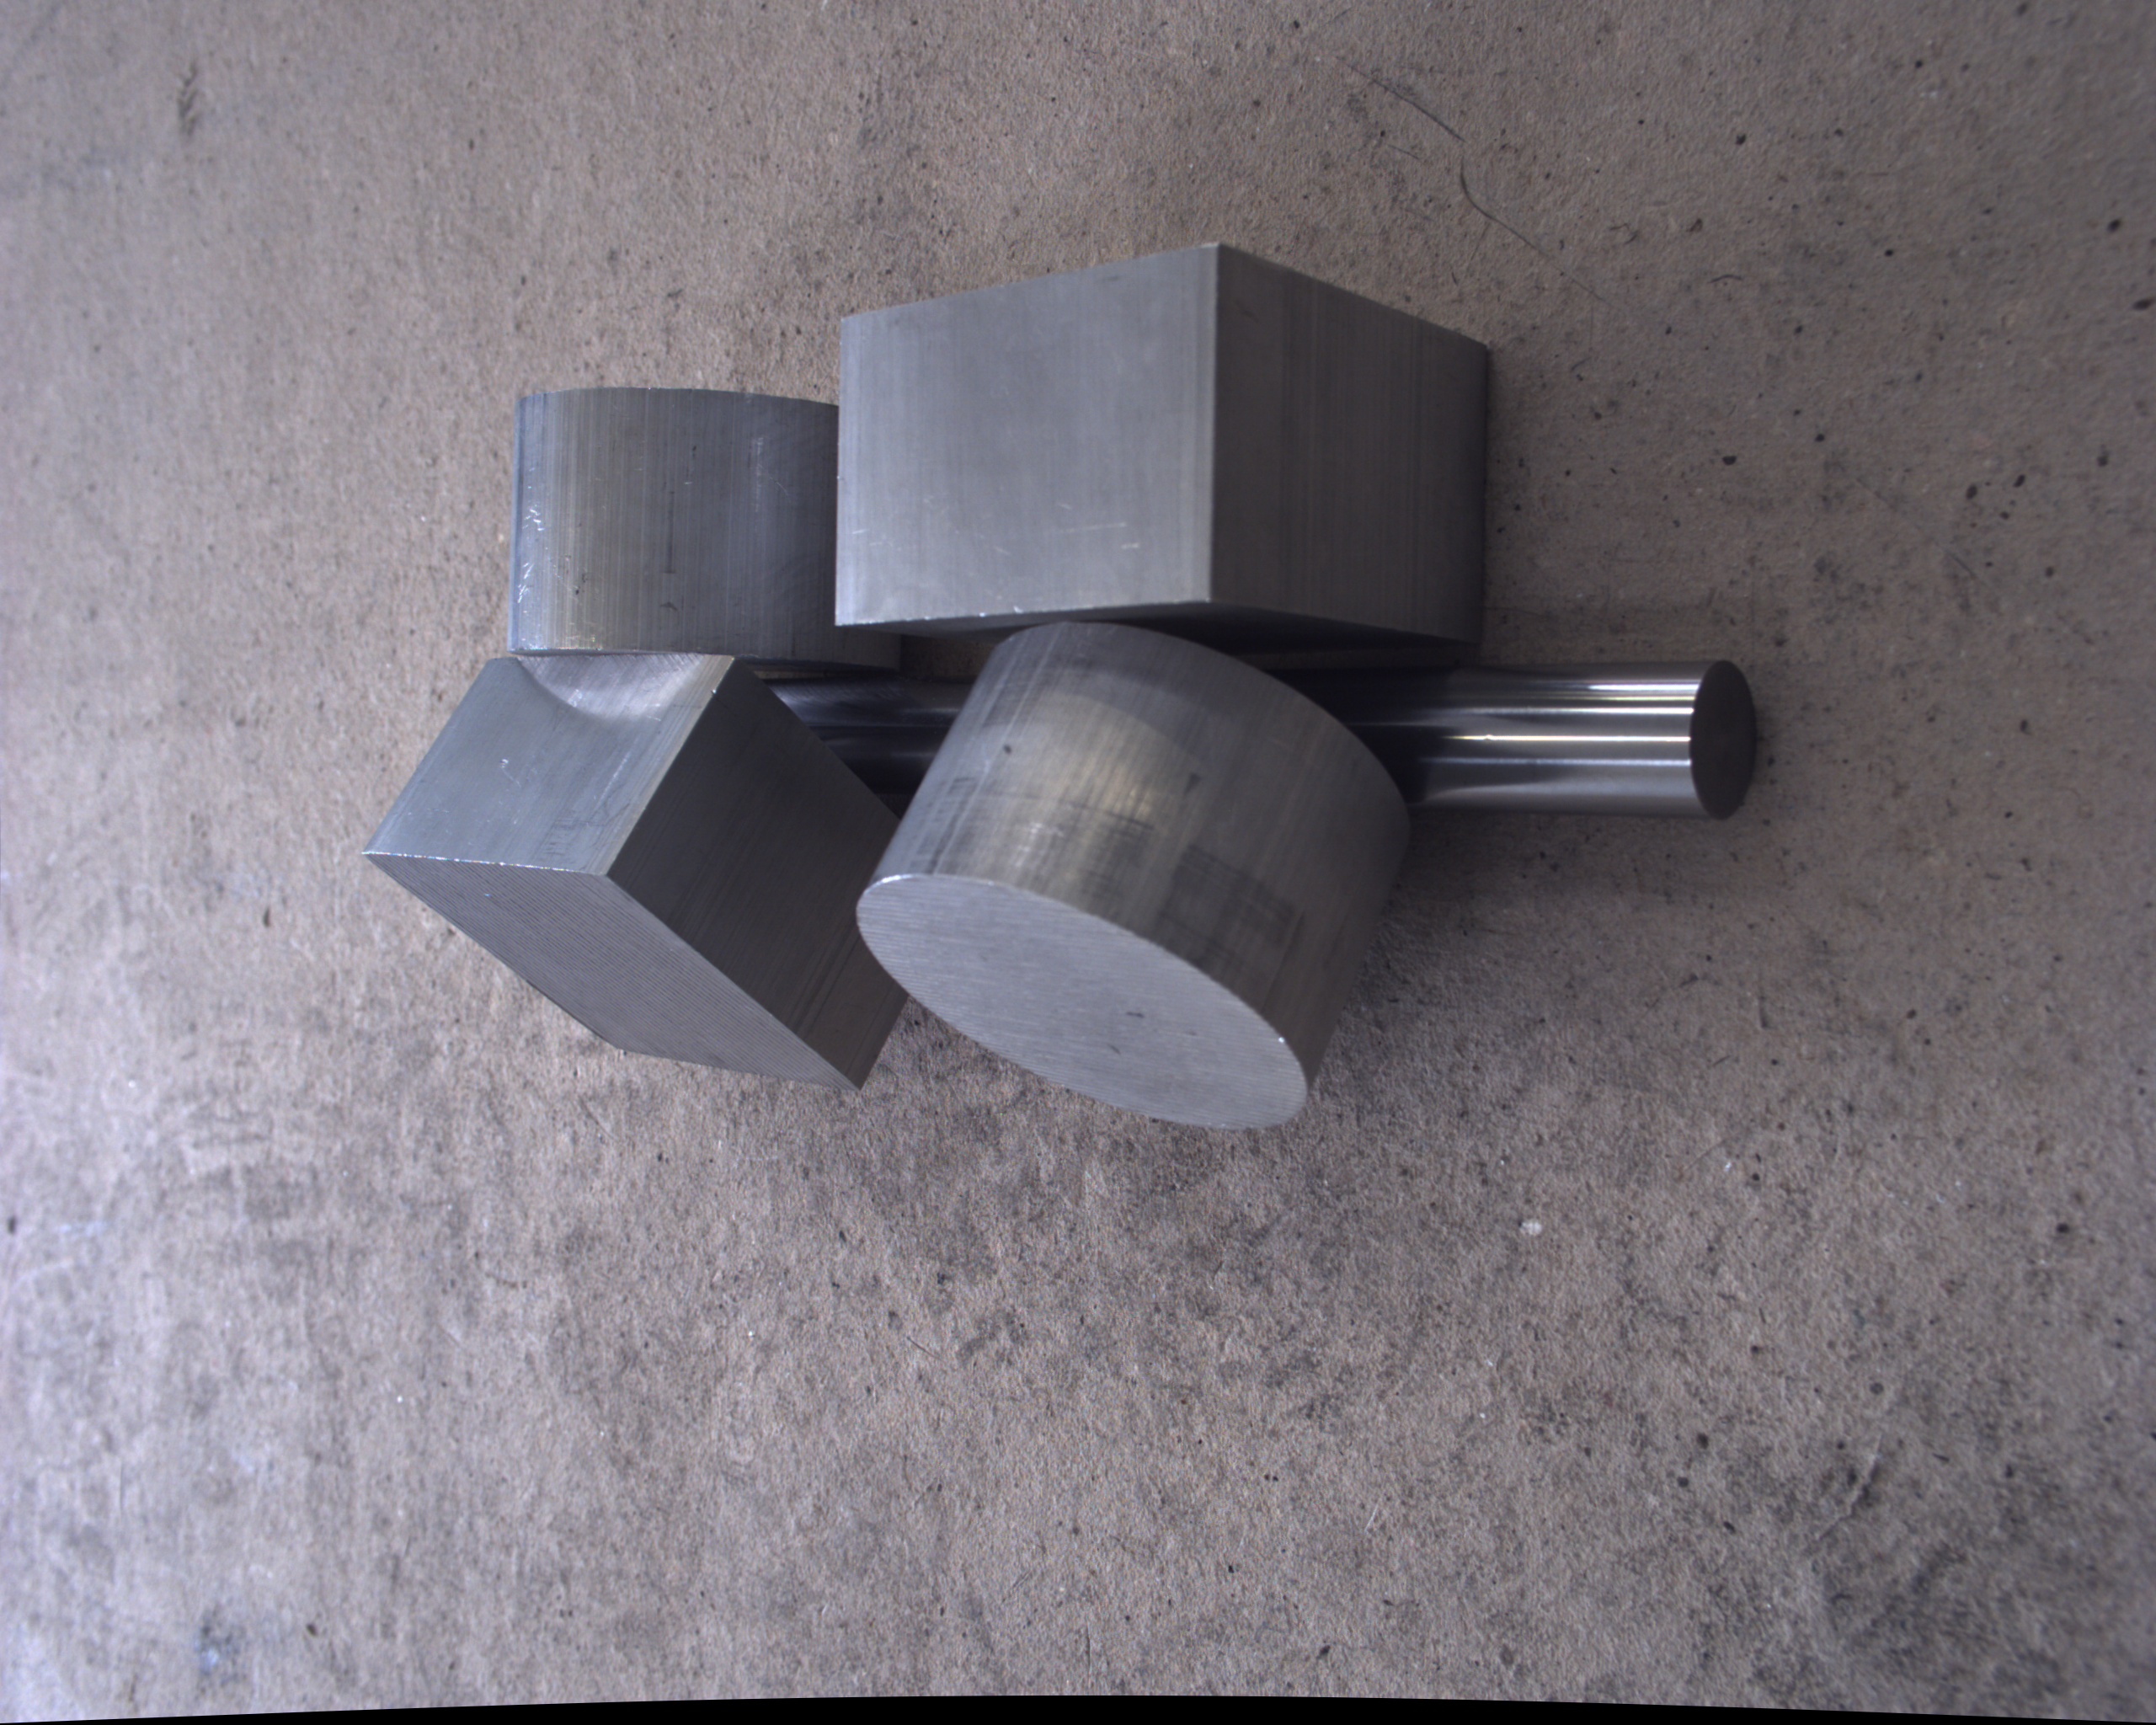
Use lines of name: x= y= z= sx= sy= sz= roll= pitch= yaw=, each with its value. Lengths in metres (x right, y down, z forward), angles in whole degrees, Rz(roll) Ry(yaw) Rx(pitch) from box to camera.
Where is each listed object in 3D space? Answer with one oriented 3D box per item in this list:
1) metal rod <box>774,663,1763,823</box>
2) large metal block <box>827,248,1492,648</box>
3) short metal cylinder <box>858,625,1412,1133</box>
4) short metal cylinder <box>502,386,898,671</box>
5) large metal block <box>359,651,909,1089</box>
metal rod: x=-0.014 y=-0.025 z=0.420 sx=0.300 sy=0.025 sz=0.025 roll=3 pitch=92 yaw=39
large metal block: x=0.015 y=-0.065 z=0.358 sx=0.080 sy=0.081 sz=0.050 roll=2 pitch=92 yaw=40
short metal cylinder: x=0.010 y=0.004 z=0.354 sx=0.080 sy=0.080 sz=0.050 roll=2 pitch=57 yaw=40
short metal cylinder: x=-0.077 y=-0.067 z=0.434 sx=0.080 sy=0.081 sz=0.050 roll=5 pitch=93 yaw=40
large metal block: x=-0.084 y=0.001 z=0.432 sx=0.080 sy=0.080 sz=0.050 roll=4 pitch=58 yaw=39
